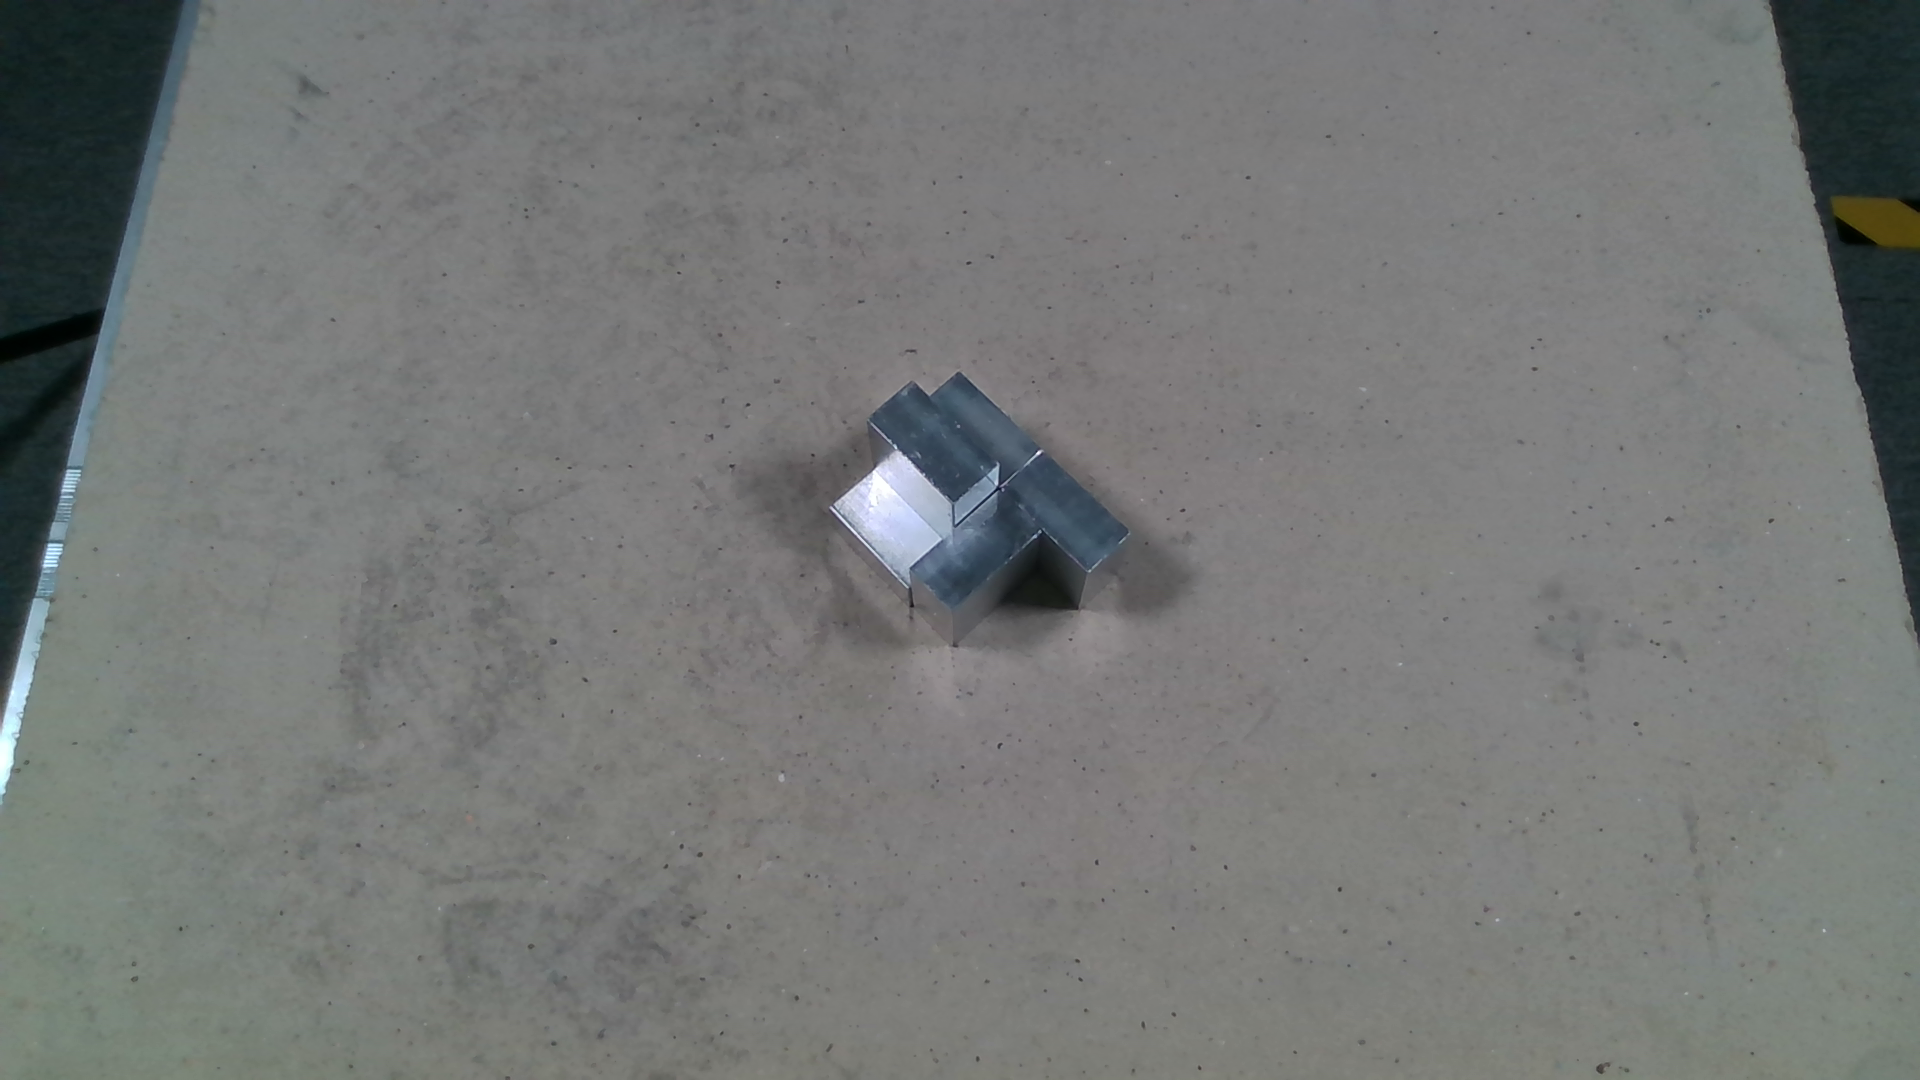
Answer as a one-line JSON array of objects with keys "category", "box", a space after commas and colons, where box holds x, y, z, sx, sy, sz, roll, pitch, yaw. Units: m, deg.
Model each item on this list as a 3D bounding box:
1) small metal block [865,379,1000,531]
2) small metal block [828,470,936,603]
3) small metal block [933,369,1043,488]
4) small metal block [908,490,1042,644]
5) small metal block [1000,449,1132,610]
[{"category": "small metal block", "box": [-0.011, -0.030, 0.559, 0.025, 0.050, 0.050, -42, 75, -14]}, {"category": "small metal block", "box": [-0.020, -0.008, 0.591, 0.050, 0.025, 0.050, -41, 75, -13]}, {"category": "small metal block", "box": [0.007, -0.038, 0.588, 0.025, 0.050, 0.050, -42, 75, -14]}, {"category": "small metal block", "box": [0.006, 0.012, 0.570, 0.050, 0.050, 0.025, -41, 75, -13]}, {"category": "small metal block", "box": [0.042, -0.004, 0.576, 0.025, 0.050, 0.050, -42, 75, -14]}]
